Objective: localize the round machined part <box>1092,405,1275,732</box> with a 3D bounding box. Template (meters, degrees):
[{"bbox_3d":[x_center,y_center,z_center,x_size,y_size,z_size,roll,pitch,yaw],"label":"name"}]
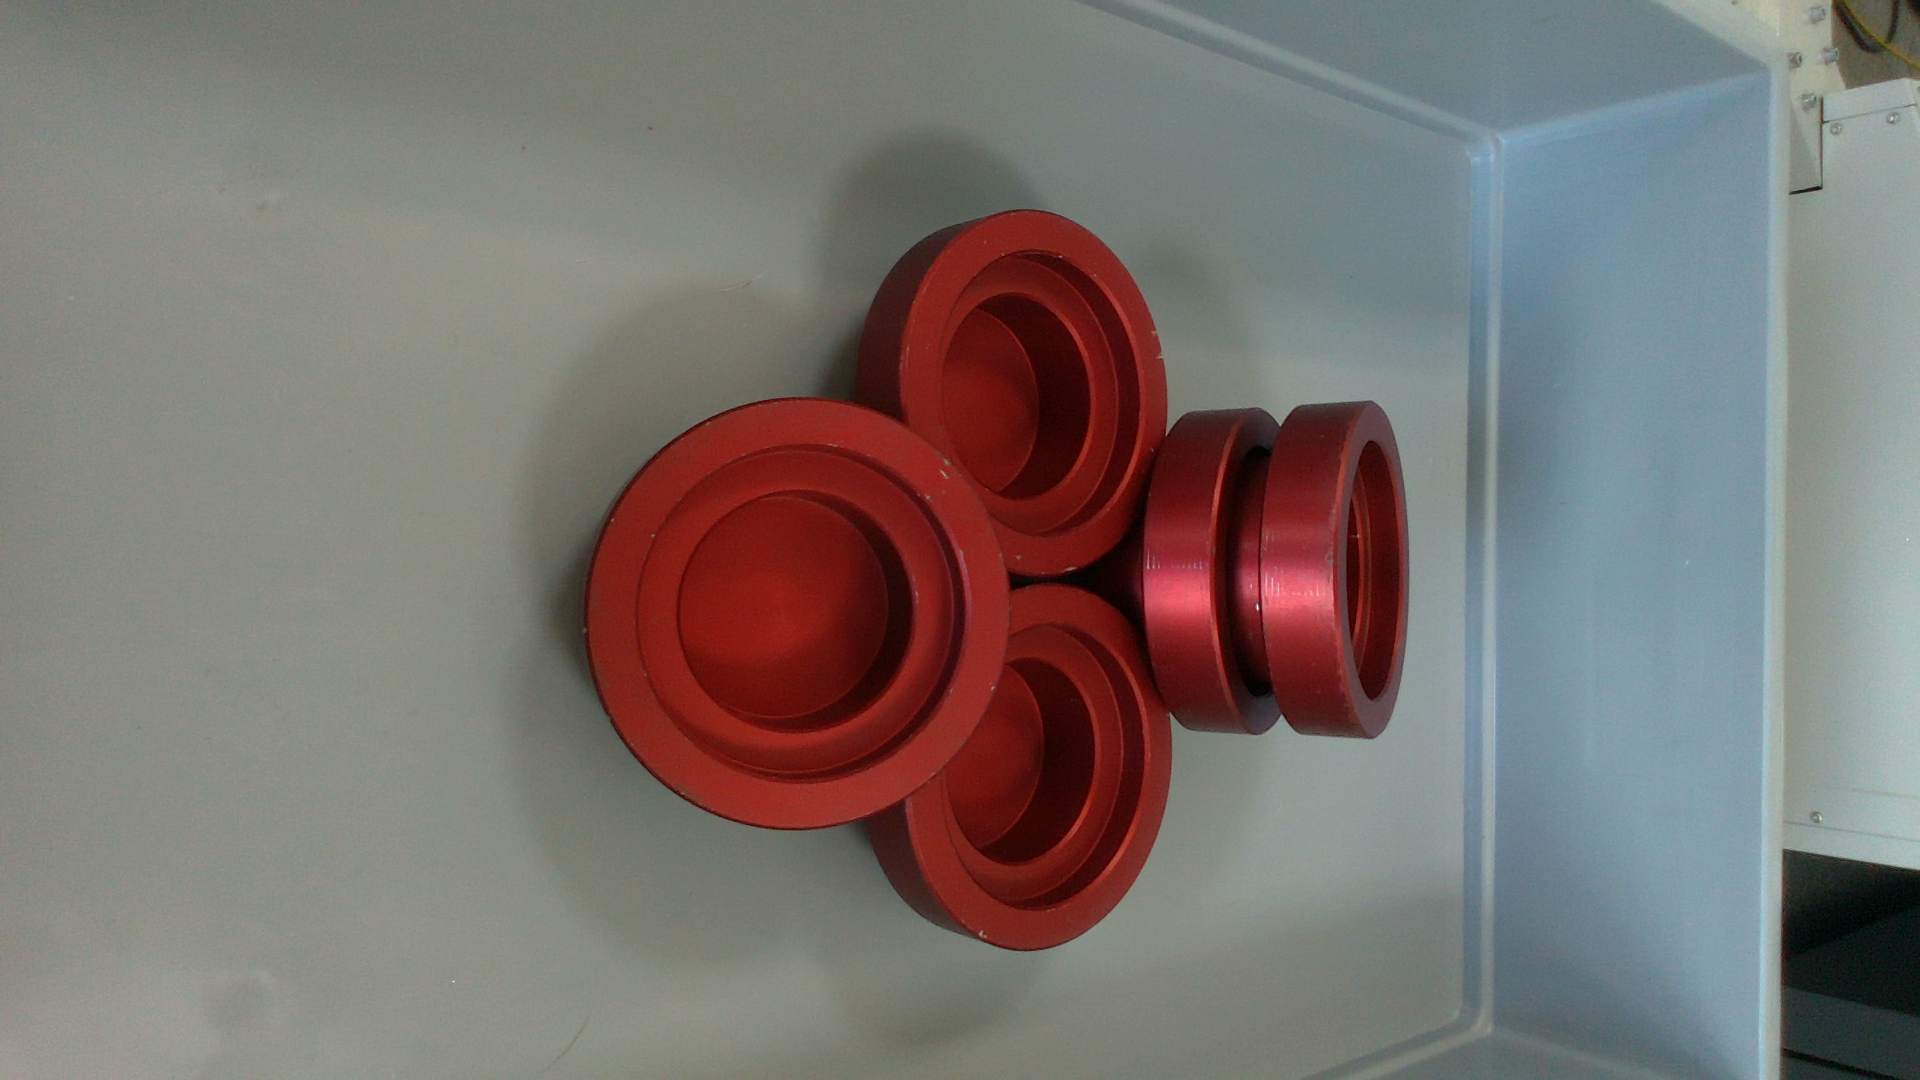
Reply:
[{"bbox_3d":[0.073,0.009,0.423,0.098,0.042,0.098,3,87,-62],"label":"round machined part"}]

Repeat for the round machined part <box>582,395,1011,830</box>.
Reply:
[{"bbox_3d":[-0.041,0.016,0.329,0.098,0.042,0.098,0,89,-19],"label":"round machined part"}]

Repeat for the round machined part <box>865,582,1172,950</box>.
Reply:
[{"bbox_3d":[0.011,0.060,0.385,0.098,0.042,0.098,0,90,-40],"label":"round machined part"}]

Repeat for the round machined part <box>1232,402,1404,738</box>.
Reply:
[{"bbox_3d":[0.102,0.008,0.411,0.098,0.042,0.098,0,89,-62],"label":"round machined part"}]

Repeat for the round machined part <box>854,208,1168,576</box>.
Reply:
[{"bbox_3d":[0.010,-0.039,0.384,0.098,0.042,0.098,0,90,-40],"label":"round machined part"}]
